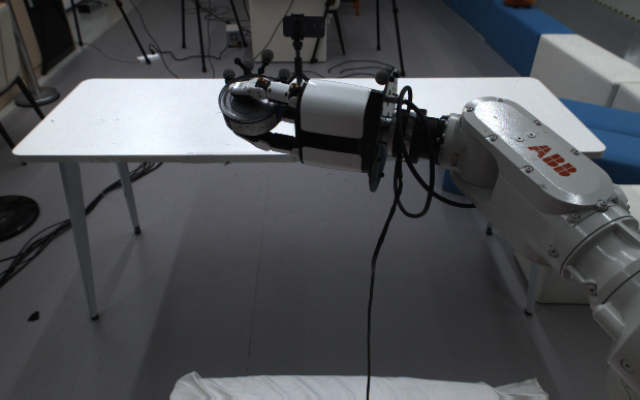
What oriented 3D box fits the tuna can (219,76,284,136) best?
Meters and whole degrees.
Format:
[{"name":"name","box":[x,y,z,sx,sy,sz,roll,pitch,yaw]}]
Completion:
[{"name":"tuna can","box":[-0.091,-0.130,0.662,0.085,0.034,0.085,-2,58,3]}]
